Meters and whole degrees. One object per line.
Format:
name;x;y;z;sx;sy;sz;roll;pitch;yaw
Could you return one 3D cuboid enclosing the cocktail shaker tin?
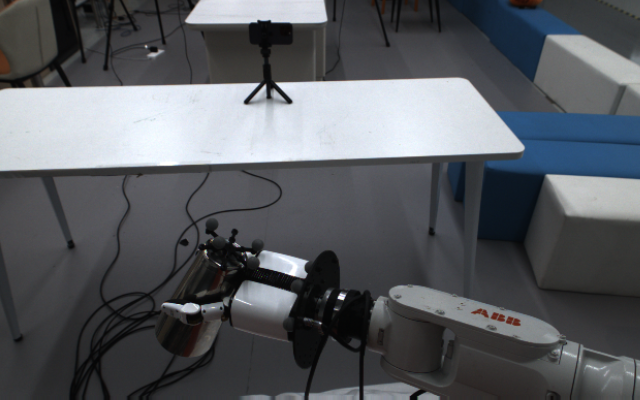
cocktail shaker tin;-0.166;0.134;0.702;0.093;0.170;0.093;25;30;-15
